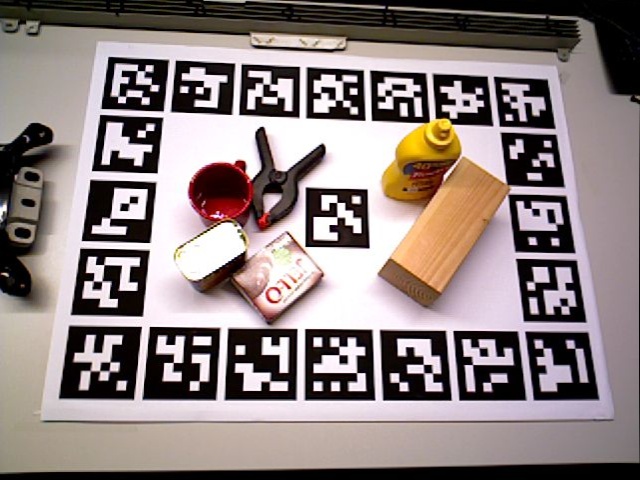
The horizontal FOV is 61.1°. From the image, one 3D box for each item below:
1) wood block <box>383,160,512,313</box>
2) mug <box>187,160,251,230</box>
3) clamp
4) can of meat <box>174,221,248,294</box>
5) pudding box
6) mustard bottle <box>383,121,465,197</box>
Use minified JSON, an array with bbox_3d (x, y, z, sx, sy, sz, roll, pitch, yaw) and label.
[{"bbox_3d":[0.193,-0.007,0.807,0.090,0.092,0.203,36,71,8],"label":"wood block"},{"bbox_3d":[-0.145,-0.065,0.822,0.093,0.082,0.116,22,74,2],"label":"mug"},{"bbox_3d":[-0.064,-0.100,0.844,0.121,0.037,0.163,20,74,0],"label":"clamp"},{"bbox_3d":[-0.152,0.028,0.763,0.100,0.085,0.058,-29,78,-13],"label":"can of meat"},{"bbox_3d":[-0.057,0.059,0.791,0.112,0.039,0.090,-38,80,-16],"label":"pudding box"},{"bbox_3d":[0.156,-0.124,0.781,0.095,0.194,0.058,-4,72,-6],"label":"mustard bottle"}]
